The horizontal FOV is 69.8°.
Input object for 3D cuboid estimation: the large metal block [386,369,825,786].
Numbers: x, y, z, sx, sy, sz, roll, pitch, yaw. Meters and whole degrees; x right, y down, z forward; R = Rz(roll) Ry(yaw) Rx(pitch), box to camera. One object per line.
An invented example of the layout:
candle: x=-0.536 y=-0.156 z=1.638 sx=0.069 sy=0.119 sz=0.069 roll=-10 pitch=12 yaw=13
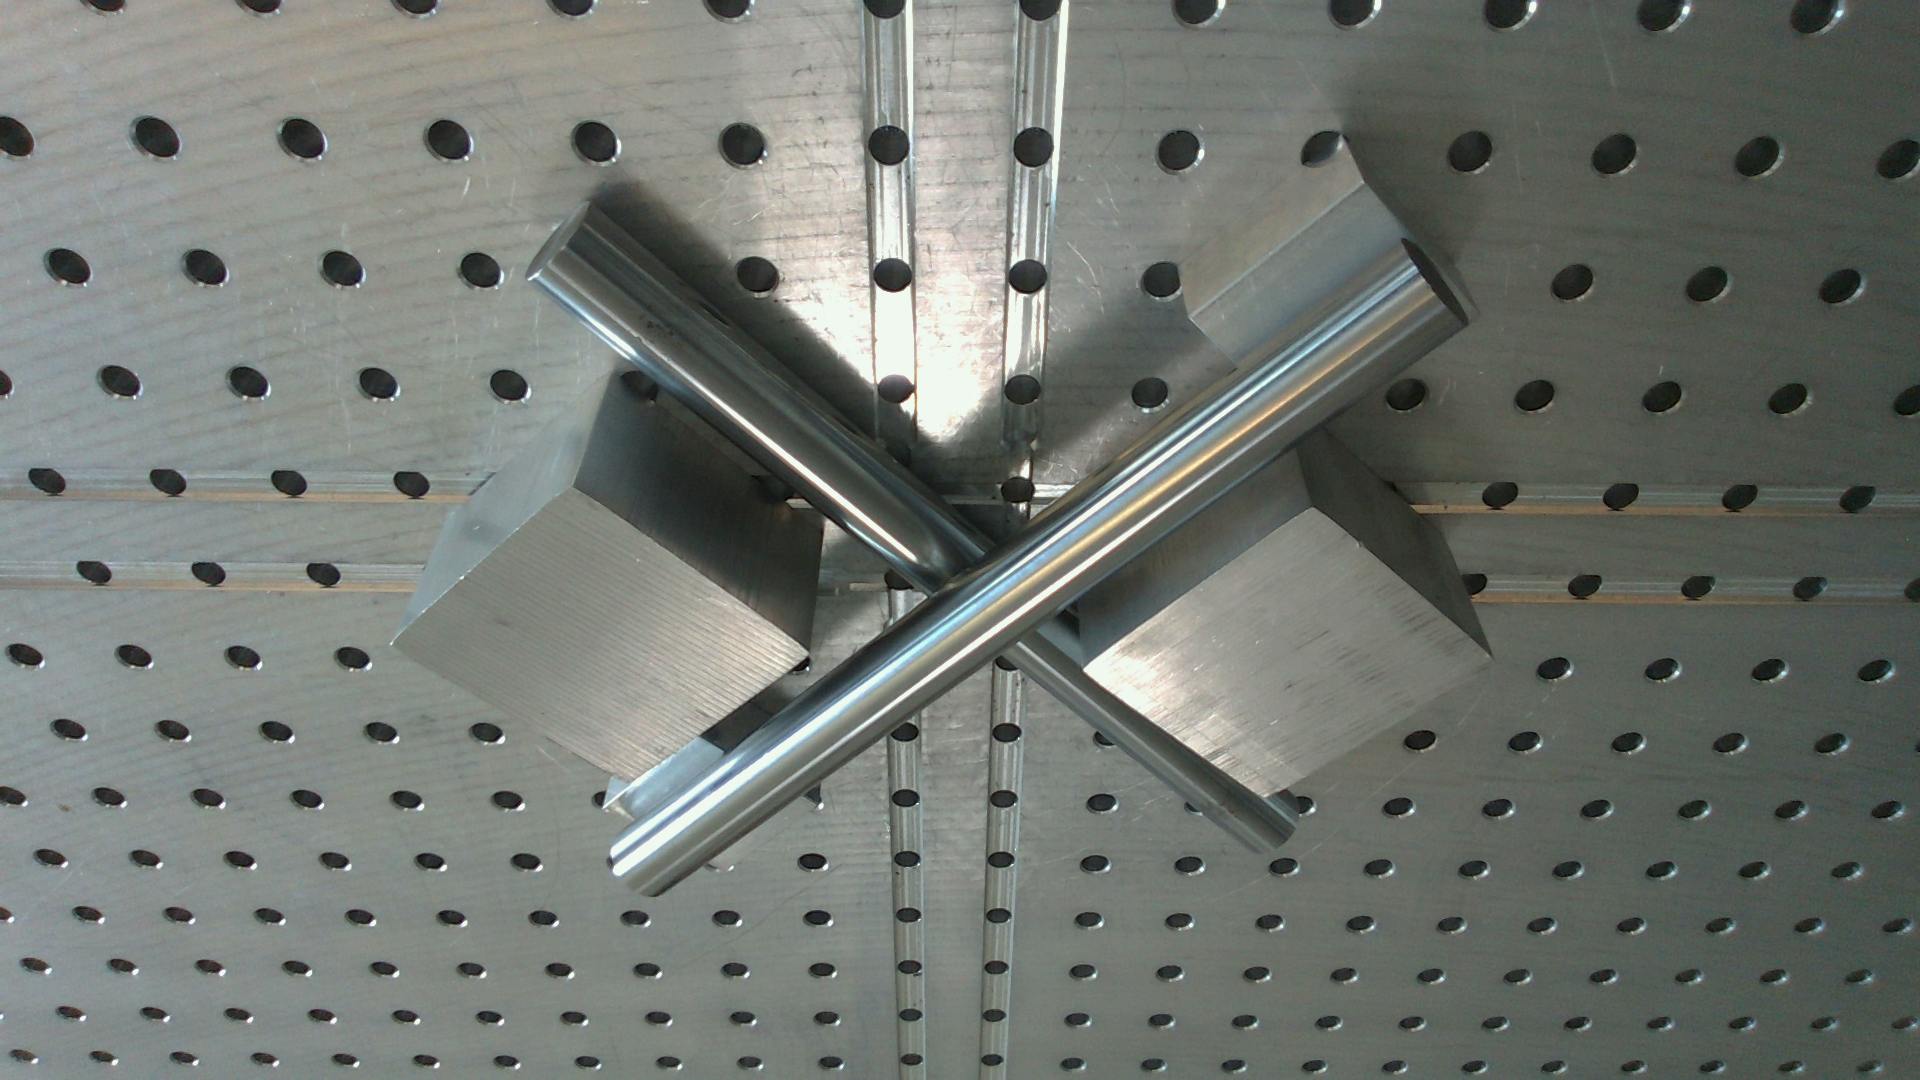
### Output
large metal block: x=-0.097 y=0.013 z=0.388 sx=0.080 sy=0.050 sz=0.080 roll=-36 pitch=122 yaw=26

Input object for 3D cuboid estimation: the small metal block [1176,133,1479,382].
small metal block: x=0.090 y=-0.062 z=0.342 sx=0.050 sy=0.025 sz=0.050 roll=-37 pitch=121 yaw=27

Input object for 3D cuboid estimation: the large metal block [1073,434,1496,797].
large metal block: x=0.089 y=0.017 z=0.392 sx=0.080 sy=0.050 sz=0.080 roll=35 pitch=122 yaw=-26

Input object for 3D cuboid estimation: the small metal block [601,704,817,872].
small metal block: x=-0.082 y=0.079 z=0.460 sx=0.050 sy=0.025 sz=0.050 roll=37 pitch=121 yaw=-27

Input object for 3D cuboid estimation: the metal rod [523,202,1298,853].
metal rod: x=0.004 y=0.012 z=0.403 sx=0.025 sy=0.025 sz=0.301 roll=-35 pitch=122 yaw=26

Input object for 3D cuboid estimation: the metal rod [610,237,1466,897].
metal rod: x=0.002 y=0.023 z=0.380 sx=0.025 sy=0.025 sz=0.299 roll=37 pitch=121 yaw=-27
